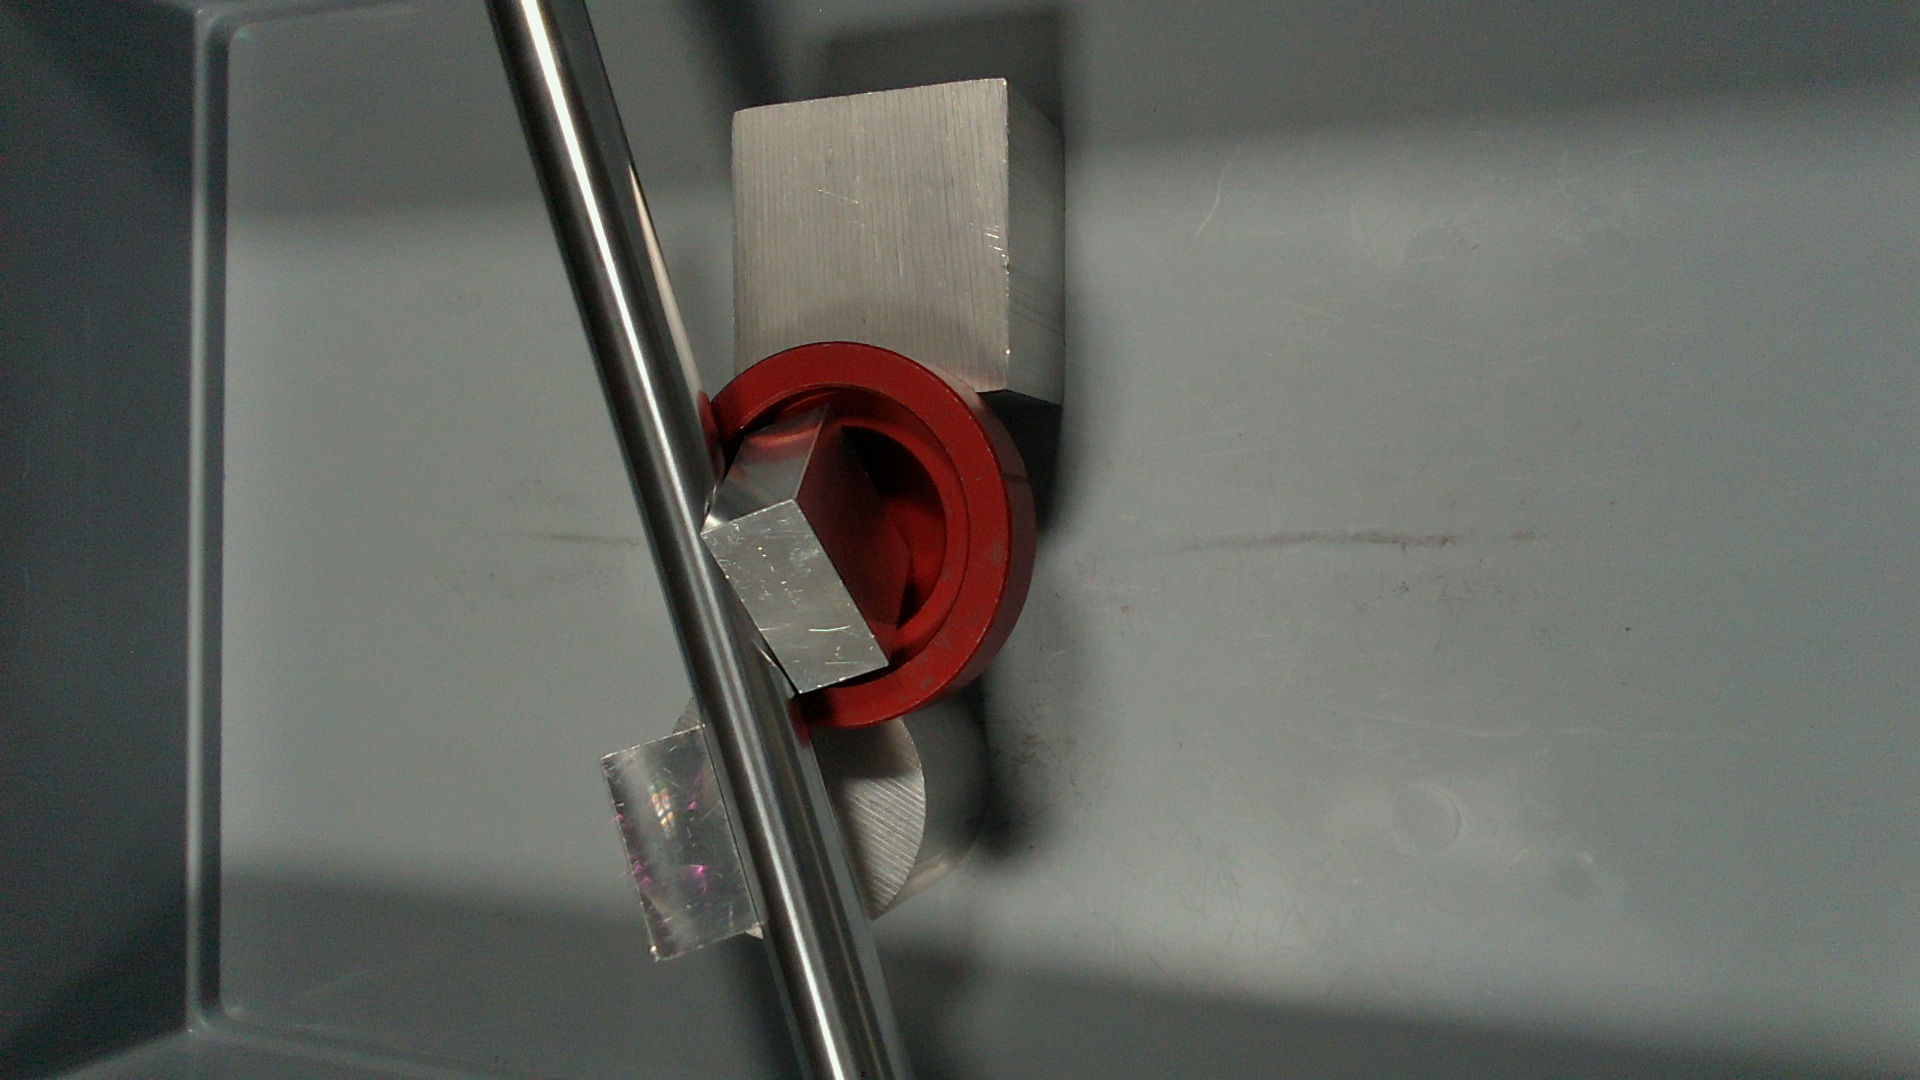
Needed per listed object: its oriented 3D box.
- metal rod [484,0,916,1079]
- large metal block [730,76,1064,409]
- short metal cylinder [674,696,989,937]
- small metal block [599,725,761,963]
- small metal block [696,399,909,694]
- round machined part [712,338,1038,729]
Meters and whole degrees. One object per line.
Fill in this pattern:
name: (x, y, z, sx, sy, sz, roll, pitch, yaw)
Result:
metal rod: (-0.067, -0.004, 0.345, 0.025, 0.025, 0.300, -20, 83, 19)
large metal block: (-0.016, -0.078, 0.386, 0.080, 0.050, 0.080, 0, 90, 20)
short metal cylinder: (-0.038, 0.070, 0.396, 0.080, 0.050, 0.080, 0, 90, 20)
small metal block: (-0.072, 0.077, 0.352, 0.025, 0.050, 0.050, -16, 83, -14)
small metal block: (-0.037, 0.001, 0.343, 0.025, 0.050, 0.050, -19, 118, 16)
round machined part: (-0.026, -0.002, 0.364, 0.098, 0.042, 0.098, 0, 90, 20)
